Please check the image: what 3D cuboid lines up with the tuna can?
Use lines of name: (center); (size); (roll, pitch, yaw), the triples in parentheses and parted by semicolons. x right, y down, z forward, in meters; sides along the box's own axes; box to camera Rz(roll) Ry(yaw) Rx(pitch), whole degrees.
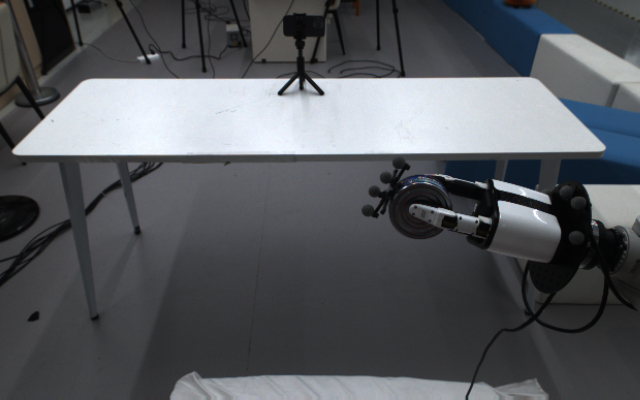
tuna can: (0.139, 0.007, 0.667); (0.085, 0.085, 0.034); (3, 20, 1)
